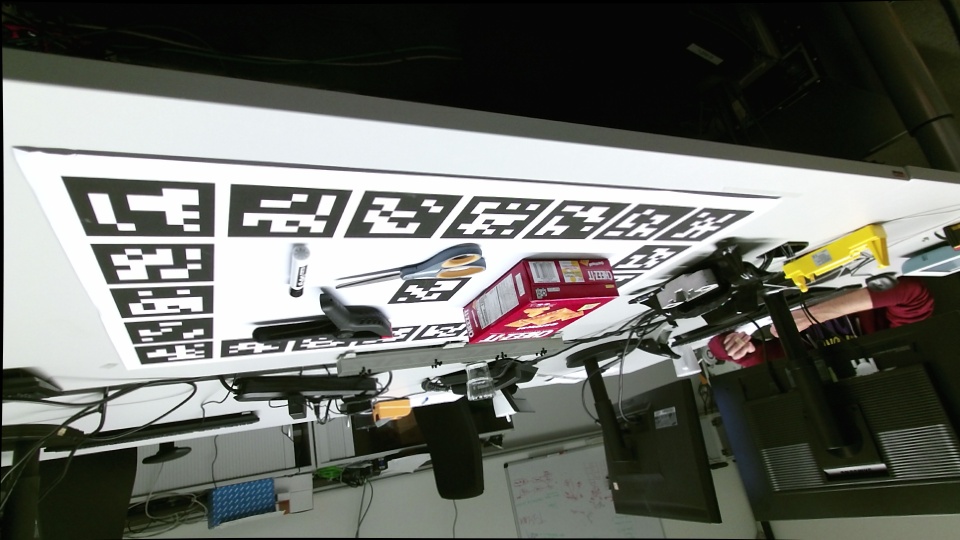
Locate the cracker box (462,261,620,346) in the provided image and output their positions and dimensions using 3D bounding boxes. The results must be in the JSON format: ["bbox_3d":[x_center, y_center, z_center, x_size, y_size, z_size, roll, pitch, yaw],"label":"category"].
[{"bbox_3d":[0.092,0.058,0.867,0.165,0.071,0.214,-1,156,-29],"label":"cracker box"}]

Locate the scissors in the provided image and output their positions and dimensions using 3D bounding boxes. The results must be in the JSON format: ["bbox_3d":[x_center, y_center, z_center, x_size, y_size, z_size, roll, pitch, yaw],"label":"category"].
[{"bbox_3d":[-0.087,0.008,0.701,0.203,0.016,0.088,-11,160,0],"label":"scissors"}]

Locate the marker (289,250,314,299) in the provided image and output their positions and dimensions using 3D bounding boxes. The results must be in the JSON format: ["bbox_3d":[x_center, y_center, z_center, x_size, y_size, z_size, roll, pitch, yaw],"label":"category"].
[{"bbox_3d":[-0.211,0.011,0.631,0.020,0.019,0.121,-4,158,-25],"label":"marker"}]

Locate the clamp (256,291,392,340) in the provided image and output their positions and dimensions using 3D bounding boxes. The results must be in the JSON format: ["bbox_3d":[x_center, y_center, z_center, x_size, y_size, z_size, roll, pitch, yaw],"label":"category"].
[{"bbox_3d":[-0.210,0.082,0.833,0.166,0.036,0.203,-23,156,29],"label":"clamp"}]
